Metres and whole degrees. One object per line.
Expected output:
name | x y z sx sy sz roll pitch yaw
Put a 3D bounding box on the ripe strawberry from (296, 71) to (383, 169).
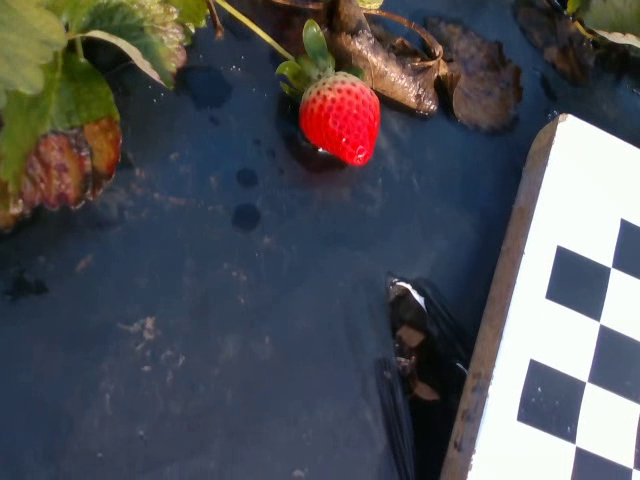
ripe strawberry | 0.009 -0.046 0.229 0.035 0.043 0.029 -11 -17 -19
